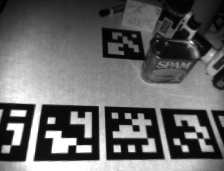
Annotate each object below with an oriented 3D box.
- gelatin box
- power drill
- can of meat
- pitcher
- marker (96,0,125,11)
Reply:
[{"bbox_3d":[0.073,-0.189,0.545,0.089,0.073,0.030,11,60,-6],"label":"gelatin box"},{"bbox_3d":[0.183,-0.133,0.467,0.187,0.184,0.057,33,60,4],"label":"power drill"},{"bbox_3d":[0.114,-0.055,0.458,0.102,0.084,0.057,0,55,-12],"label":"can of meat"},{"bbox_3d":[0.227,-0.231,0.512,0.187,0.243,0.133,25,59,13],"label":"pitcher"},{"bbox_3d":[0.012,-0.223,0.583,0.122,0.019,0.019,-23,65,-23],"label":"marker"}]
